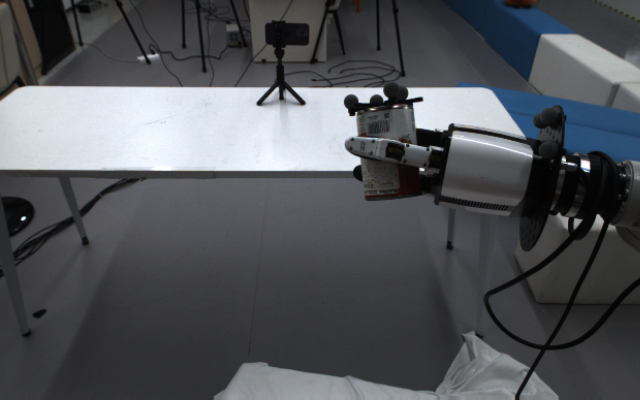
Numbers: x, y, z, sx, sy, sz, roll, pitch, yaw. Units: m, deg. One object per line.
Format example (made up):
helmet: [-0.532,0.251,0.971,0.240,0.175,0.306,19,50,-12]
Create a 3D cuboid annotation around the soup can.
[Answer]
soup can: [0.081,-0.055,0.557,0.067,0.101,0.067,-7,3,0]
